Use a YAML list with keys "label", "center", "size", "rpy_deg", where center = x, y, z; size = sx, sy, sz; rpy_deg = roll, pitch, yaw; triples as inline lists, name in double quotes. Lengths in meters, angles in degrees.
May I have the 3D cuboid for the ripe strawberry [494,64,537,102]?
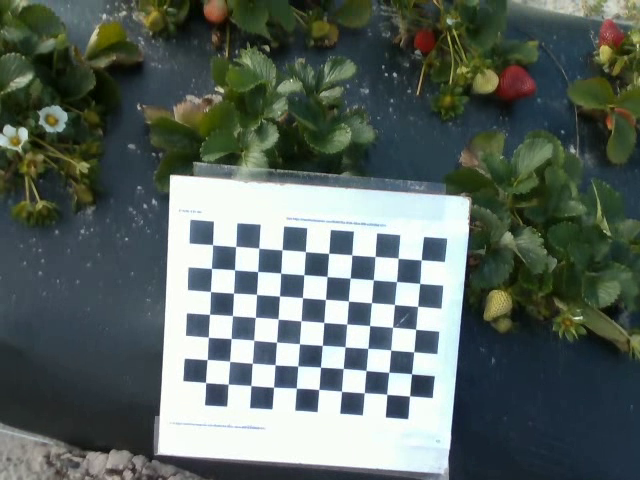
- label: "ripe strawberry"
  center: [0.272, -0.210, 0.857]
  size: [0.048, 0.051, 0.055]
  rpy_deg: [33, 8, -41]
